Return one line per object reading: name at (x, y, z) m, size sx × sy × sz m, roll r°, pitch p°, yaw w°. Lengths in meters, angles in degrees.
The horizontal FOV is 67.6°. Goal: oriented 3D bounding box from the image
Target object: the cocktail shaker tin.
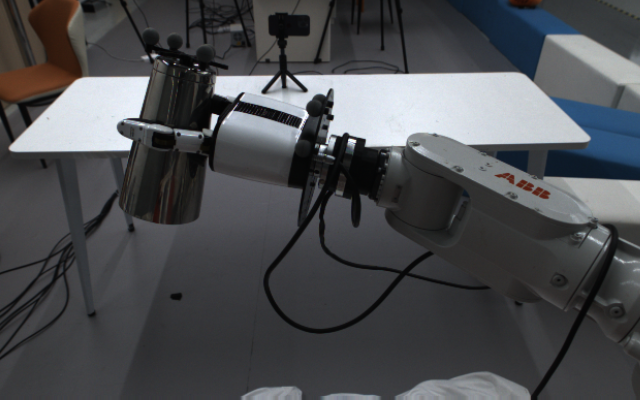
cocktail shaker tin at (-0.167, -0.067, 0.548) m, size 0.093 × 0.170 × 0.093 m, roll 14°, pitch 17°, yaw -5°
